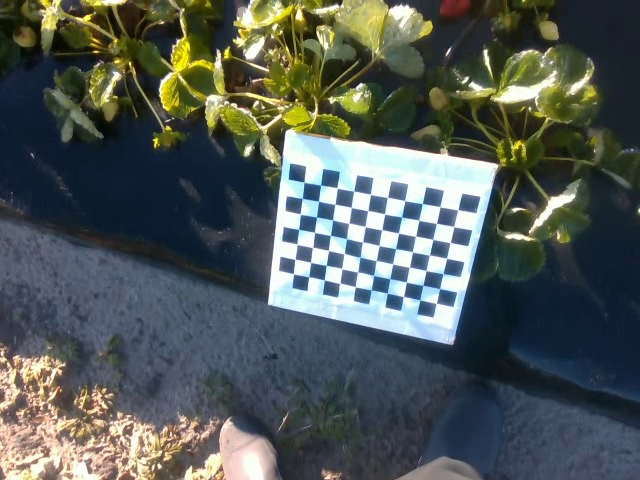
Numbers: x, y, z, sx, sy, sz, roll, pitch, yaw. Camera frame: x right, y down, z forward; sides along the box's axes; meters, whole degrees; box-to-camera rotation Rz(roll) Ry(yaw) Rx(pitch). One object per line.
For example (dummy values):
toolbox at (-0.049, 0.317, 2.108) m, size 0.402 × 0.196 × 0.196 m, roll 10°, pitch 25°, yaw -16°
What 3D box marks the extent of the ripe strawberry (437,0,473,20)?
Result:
ripe strawberry at (0.165, -0.292, 0.757) m, size 0.047 × 0.039 × 0.040 m, roll -42°, pitch 6°, yaw 6°
